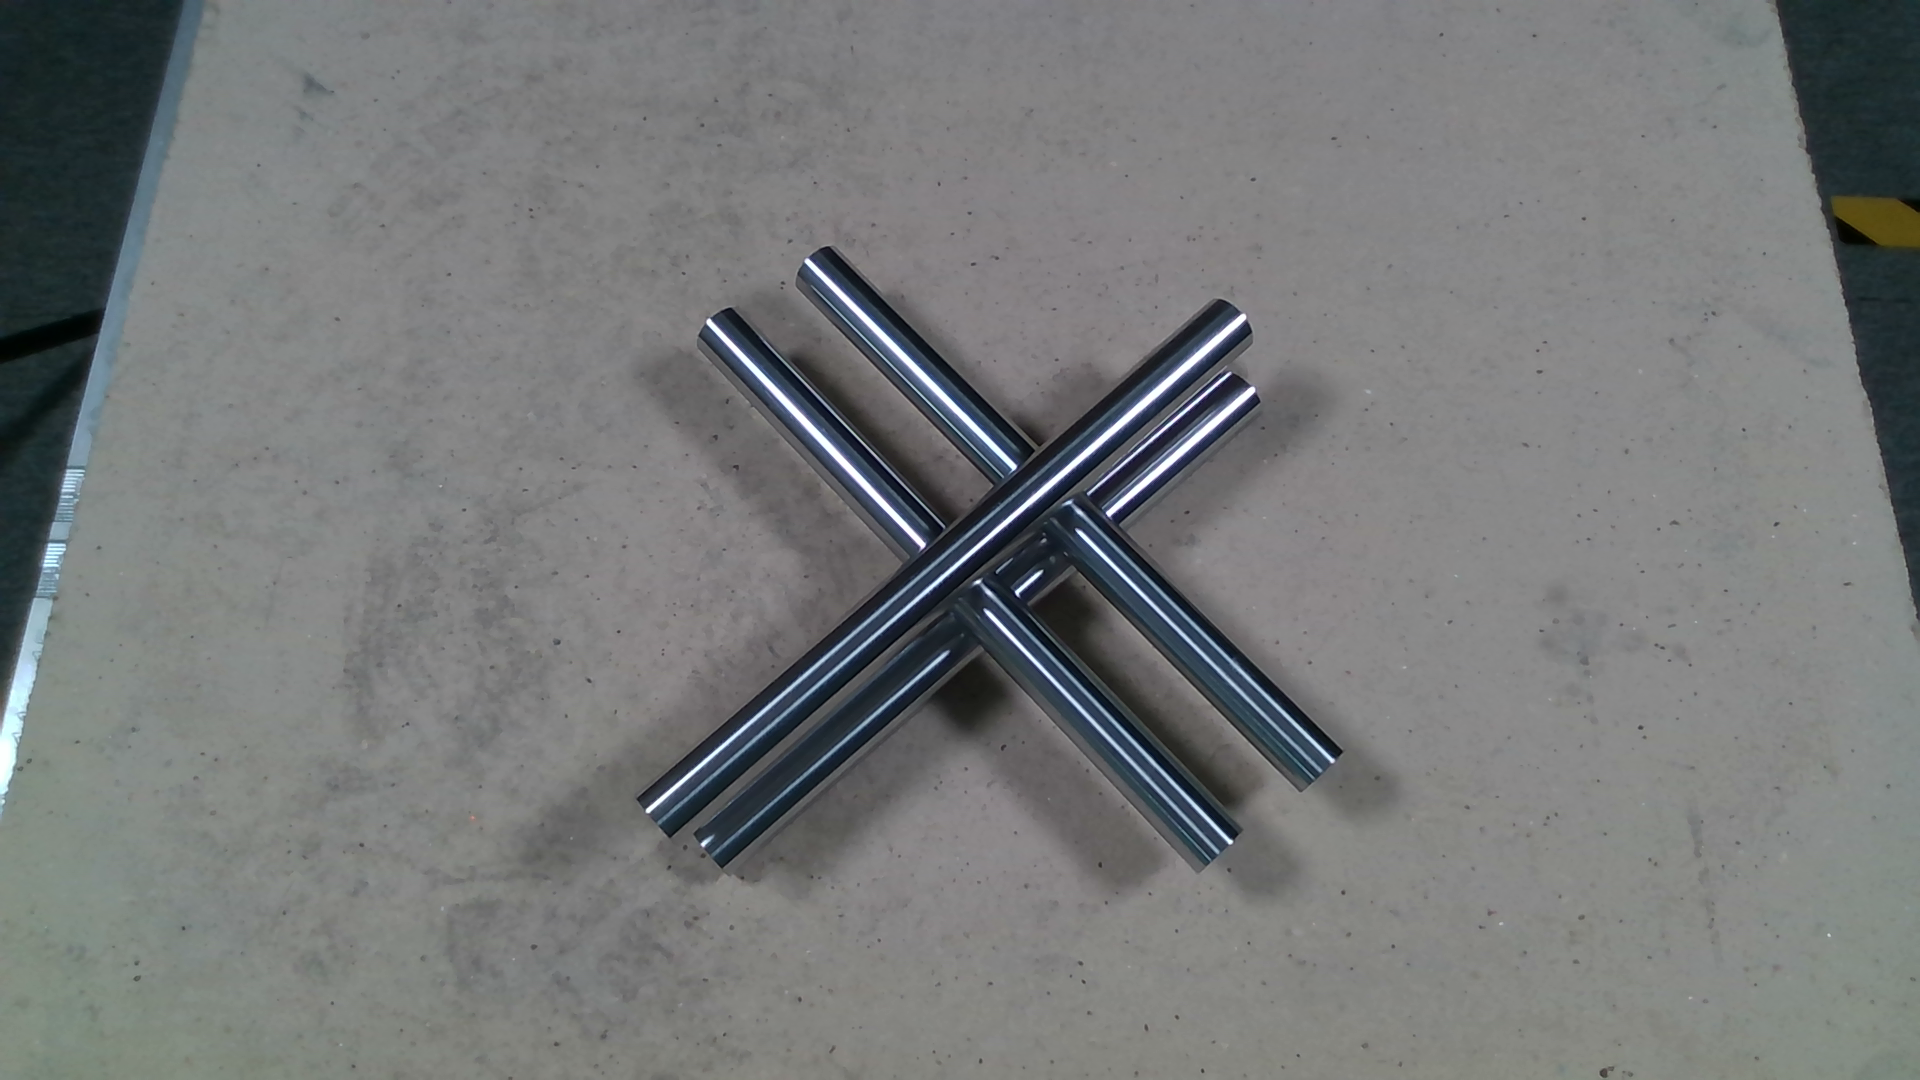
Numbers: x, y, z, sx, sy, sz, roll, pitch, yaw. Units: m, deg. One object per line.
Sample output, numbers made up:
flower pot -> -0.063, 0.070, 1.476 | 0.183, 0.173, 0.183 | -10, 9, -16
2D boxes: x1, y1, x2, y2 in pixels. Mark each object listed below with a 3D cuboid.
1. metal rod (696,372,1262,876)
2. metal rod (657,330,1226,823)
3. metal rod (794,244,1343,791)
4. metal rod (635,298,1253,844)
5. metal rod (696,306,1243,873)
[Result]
metal rod -> 0.013, 0.029, 0.578 | 0.300, 0.025, 0.025 | -40, 75, -13
metal rod -> -0.001, 0.010, 0.585 | 0.300, 0.025, 0.025 | -40, 75, -13
metal rod -> 0.038, -0.016, 0.567 | 0.025, 0.025, 0.300 | -41, 75, -13
metal rod -> 0.001, 0.006, 0.533 | 0.300, 0.025, 0.025 | -41, 75, -13
metal rod -> -0.003, 0.013, 0.557 | 0.025, 0.025, 0.300 | -41, 75, -13
